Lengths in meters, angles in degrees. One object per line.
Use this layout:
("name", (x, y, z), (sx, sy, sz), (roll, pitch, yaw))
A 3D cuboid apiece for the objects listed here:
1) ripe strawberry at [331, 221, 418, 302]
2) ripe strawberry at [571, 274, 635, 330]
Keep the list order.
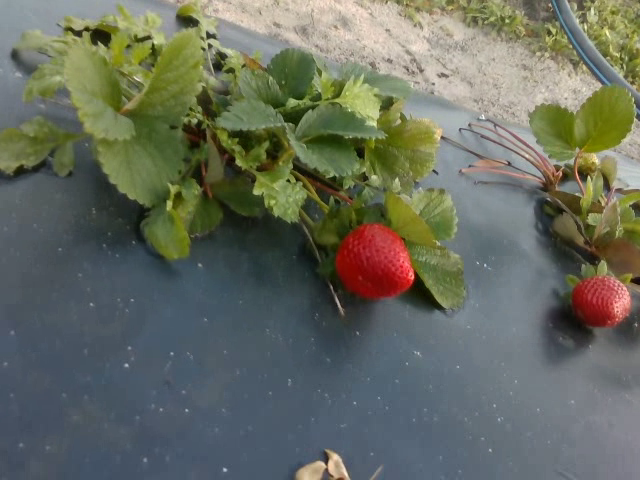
("ripe strawberry", (0.030, 0.014, 0.279), (0.051, 0.046, 0.050), (46, -10, -13))
("ripe strawberry", (0.171, 0.041, 0.344), (0.041, 0.045, 0.052), (-23, 3, 16))
